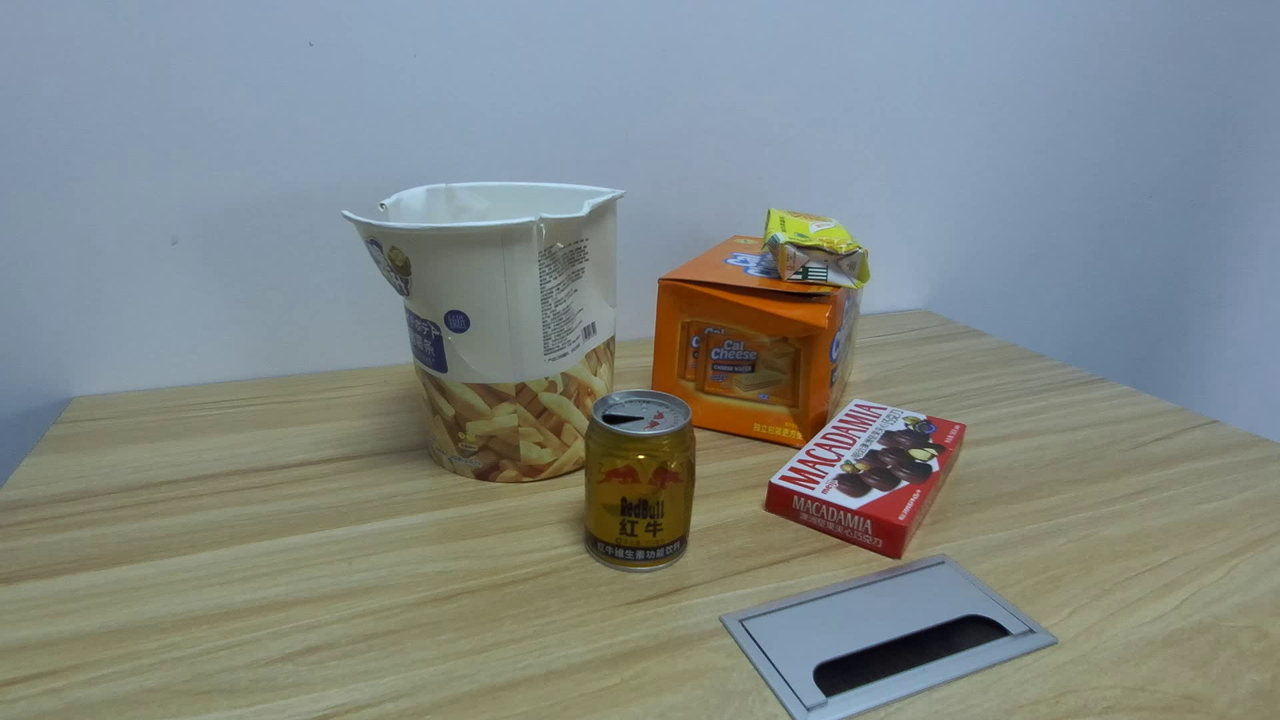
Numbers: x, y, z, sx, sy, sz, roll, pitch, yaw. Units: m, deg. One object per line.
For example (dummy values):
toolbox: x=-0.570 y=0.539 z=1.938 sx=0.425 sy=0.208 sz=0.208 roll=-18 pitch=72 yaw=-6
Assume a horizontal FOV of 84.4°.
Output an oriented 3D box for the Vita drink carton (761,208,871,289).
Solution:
Vita drink carton: x=0.145 y=-0.093 z=0.600 sx=0.087 sy=0.042 sz=0.108 roll=10 pitch=23 yaw=-2

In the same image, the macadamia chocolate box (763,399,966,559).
macadamia chocolate box: x=0.174 y=0.078 z=0.525 sx=0.095 sy=0.027 sz=0.178 roll=15 pitch=24 yaw=32

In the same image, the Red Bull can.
Red Bull can: x=0.000 y=0.071 z=0.431 sx=0.068 sy=0.093 sz=0.068 roll=1 pitch=21 yaw=0

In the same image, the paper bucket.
paper bucket: x=-0.096 y=-0.028 z=0.538 sx=0.145 sy=0.197 sz=0.203 roll=4 pitch=21 yaw=10

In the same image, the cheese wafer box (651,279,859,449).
cheese wafer box: x=0.119 y=-0.030 z=0.657 sx=0.149 sy=0.137 sz=0.227 roll=11 pitch=22 yaw=21
